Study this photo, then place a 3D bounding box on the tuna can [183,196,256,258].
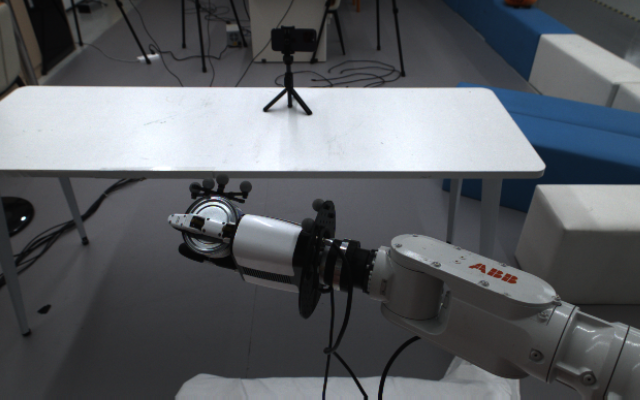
[{"bbox_3d":[-0.147,0.039,0.679,0.085,0.034,0.085,-5,71,14],"label":"tuna can"}]
